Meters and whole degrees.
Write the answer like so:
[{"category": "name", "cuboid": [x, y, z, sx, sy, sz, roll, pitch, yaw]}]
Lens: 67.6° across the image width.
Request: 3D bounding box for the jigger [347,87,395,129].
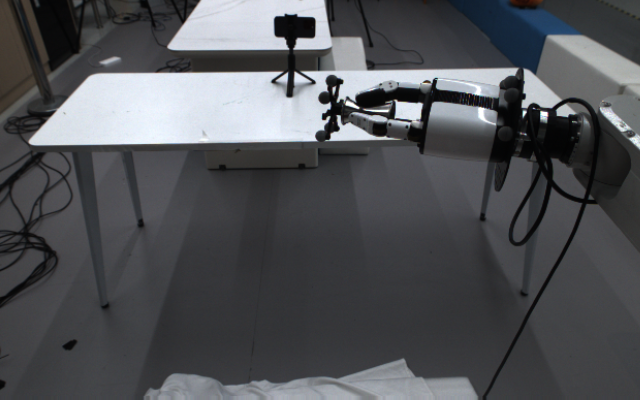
[{"category": "jigger", "cuboid": [0.073, -0.123, 0.674, 0.071, 0.043, 0.043, 10, 36, 15]}]
